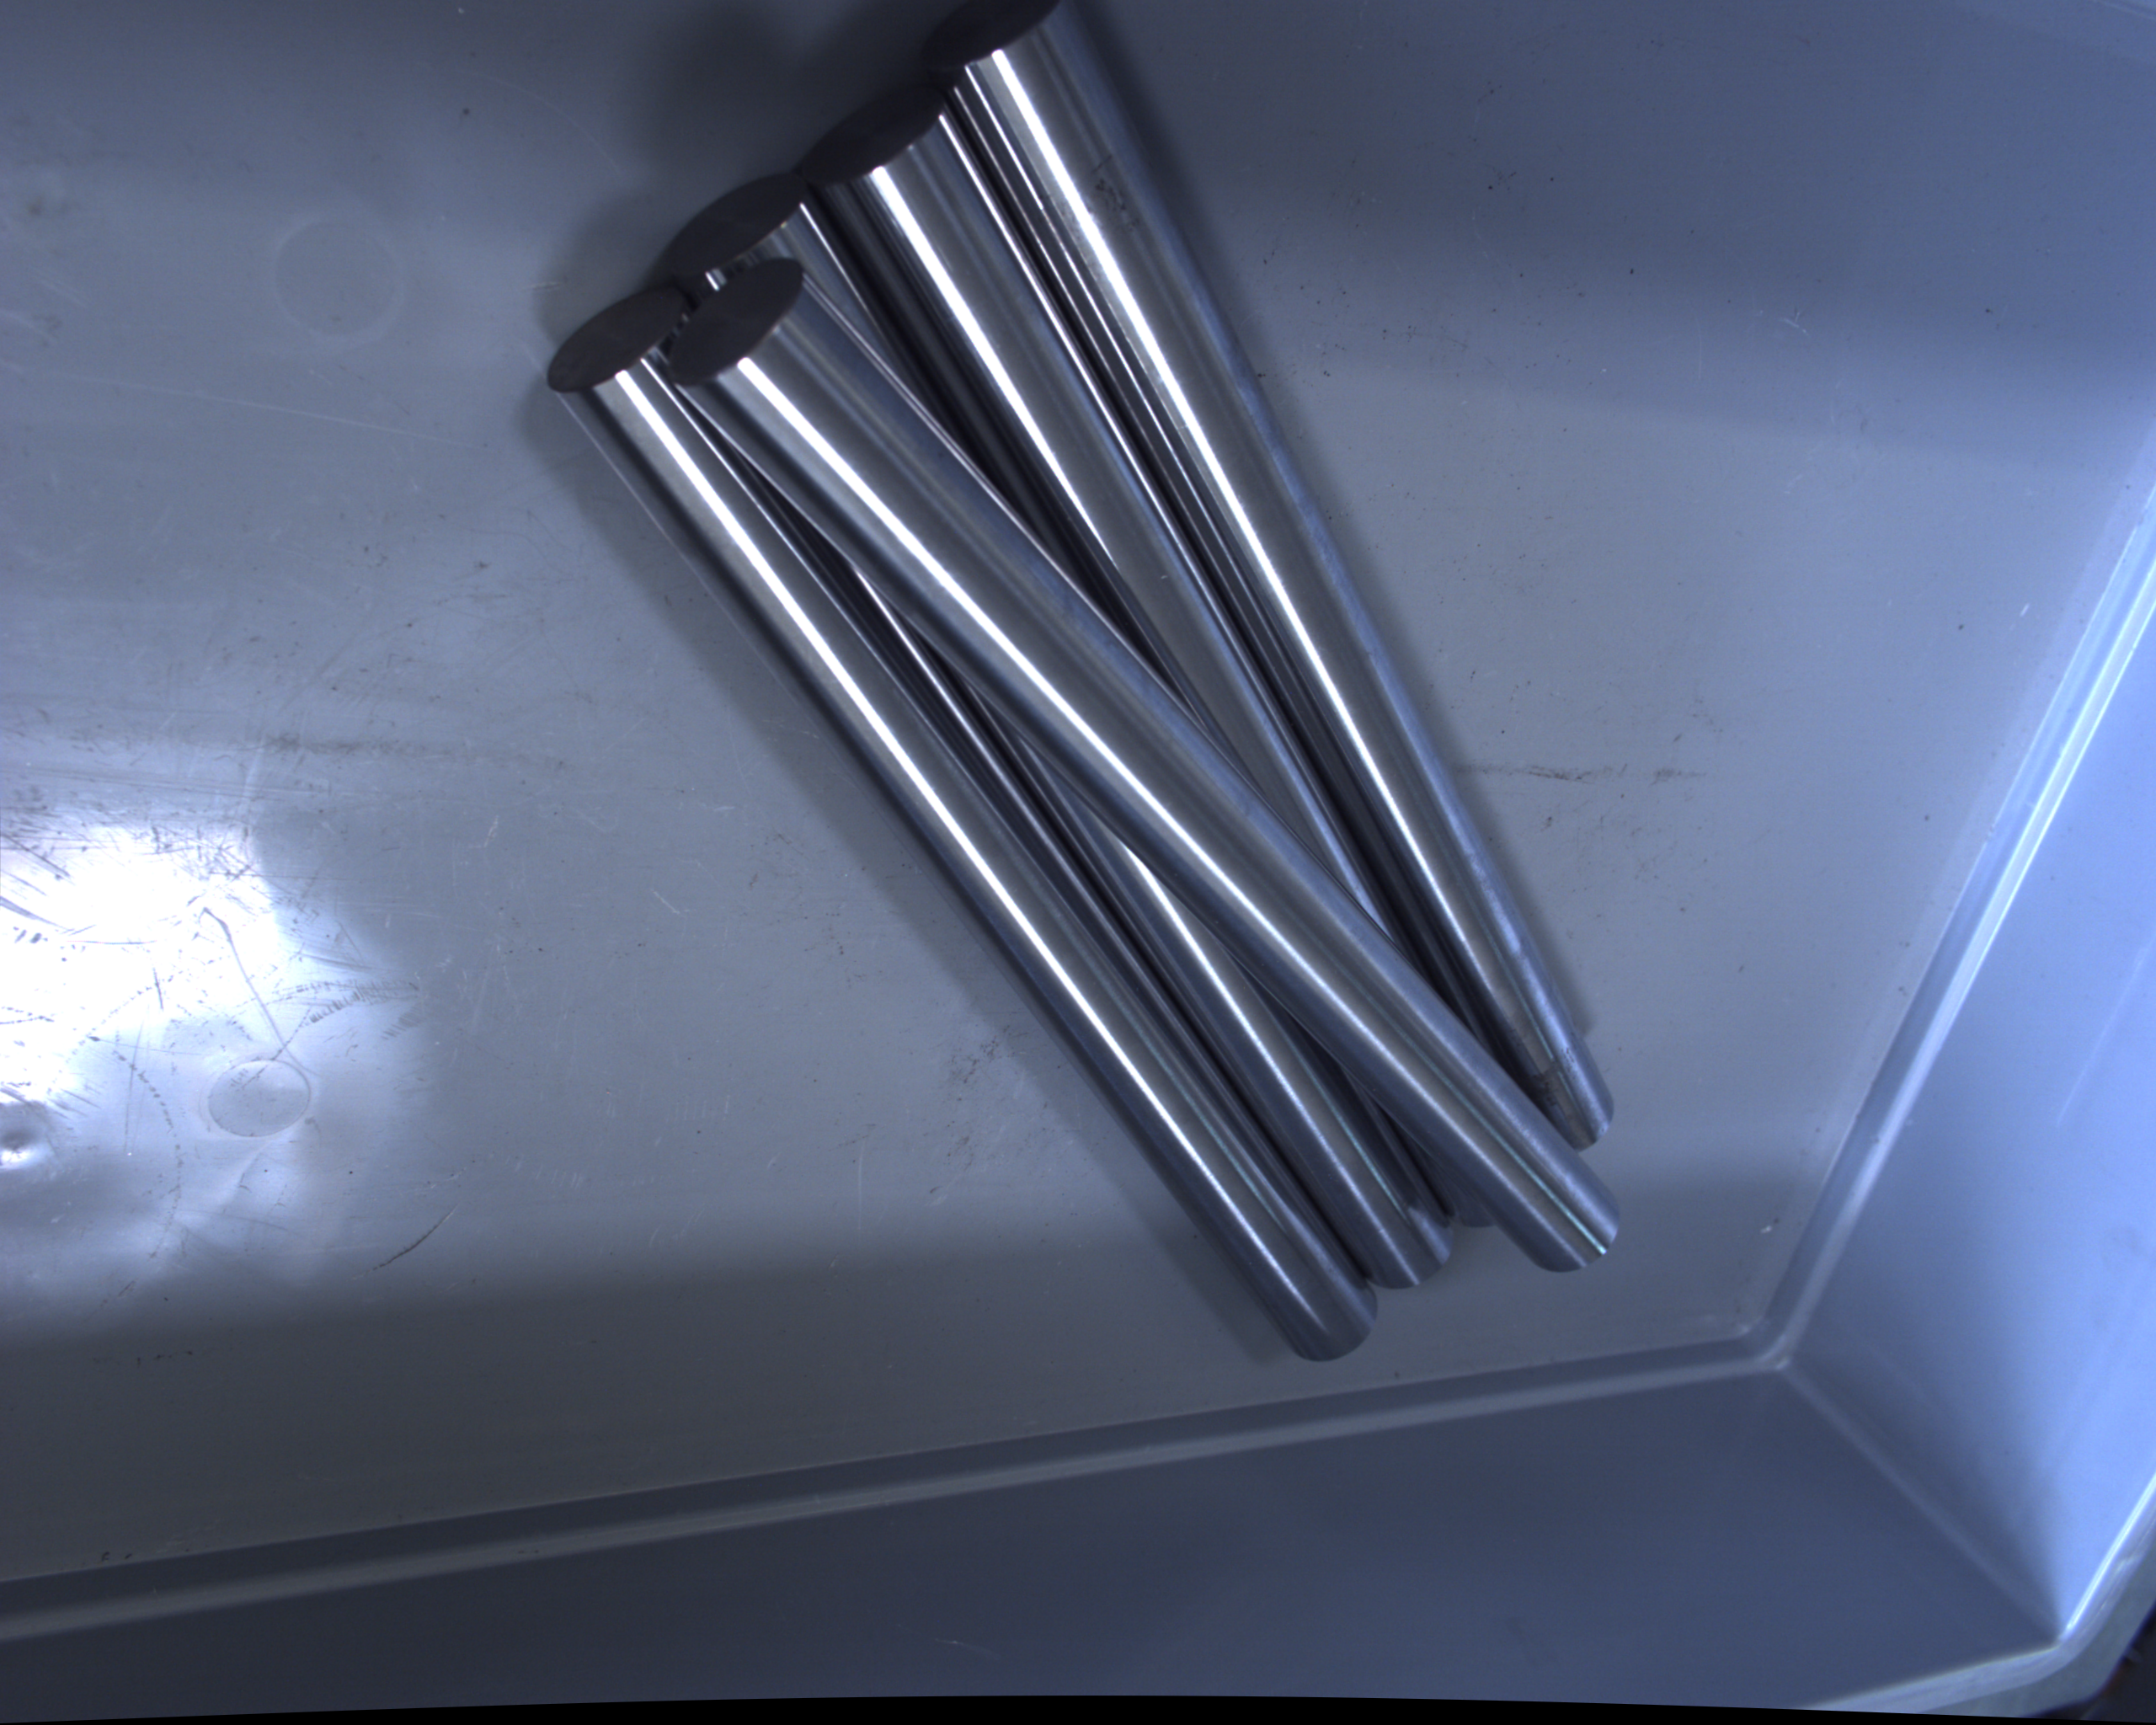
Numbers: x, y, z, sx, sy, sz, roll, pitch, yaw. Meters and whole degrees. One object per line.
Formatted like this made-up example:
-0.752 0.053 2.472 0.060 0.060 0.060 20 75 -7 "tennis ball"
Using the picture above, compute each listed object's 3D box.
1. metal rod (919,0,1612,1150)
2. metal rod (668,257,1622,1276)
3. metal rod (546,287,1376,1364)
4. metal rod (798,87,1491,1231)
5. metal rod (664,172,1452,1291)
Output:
0.052 -0.033 0.415 0.025 0.025 0.300 -37 129 -3 "metal rod"
0.033 0.004 0.394 0.025 0.025 0.300 -44 129 2 "metal rod"
-0.005 0.015 0.414 0.025 0.025 0.300 -37 129 -3 "metal rod"
0.034 -0.016 0.415 0.025 0.025 0.300 -37 129 -3 "metal rod"
0.013 -0.002 0.413 0.025 0.025 0.300 -37 129 -3 "metal rod"
